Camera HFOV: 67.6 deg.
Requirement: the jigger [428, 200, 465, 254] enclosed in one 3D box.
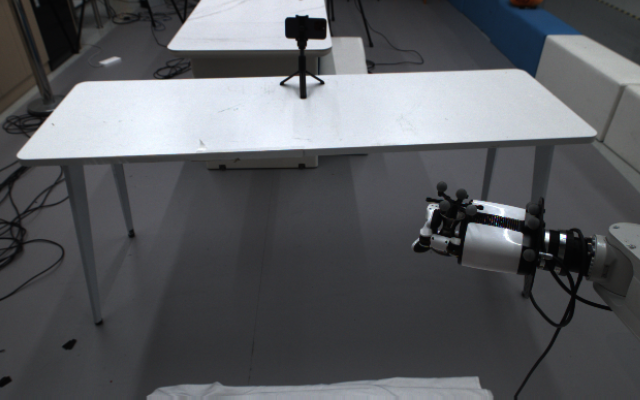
[{"bbox_3d":[0.208,0.050,0.786,0.043,0.071,0.043,6,26,-3],"label":"jigger"}]
